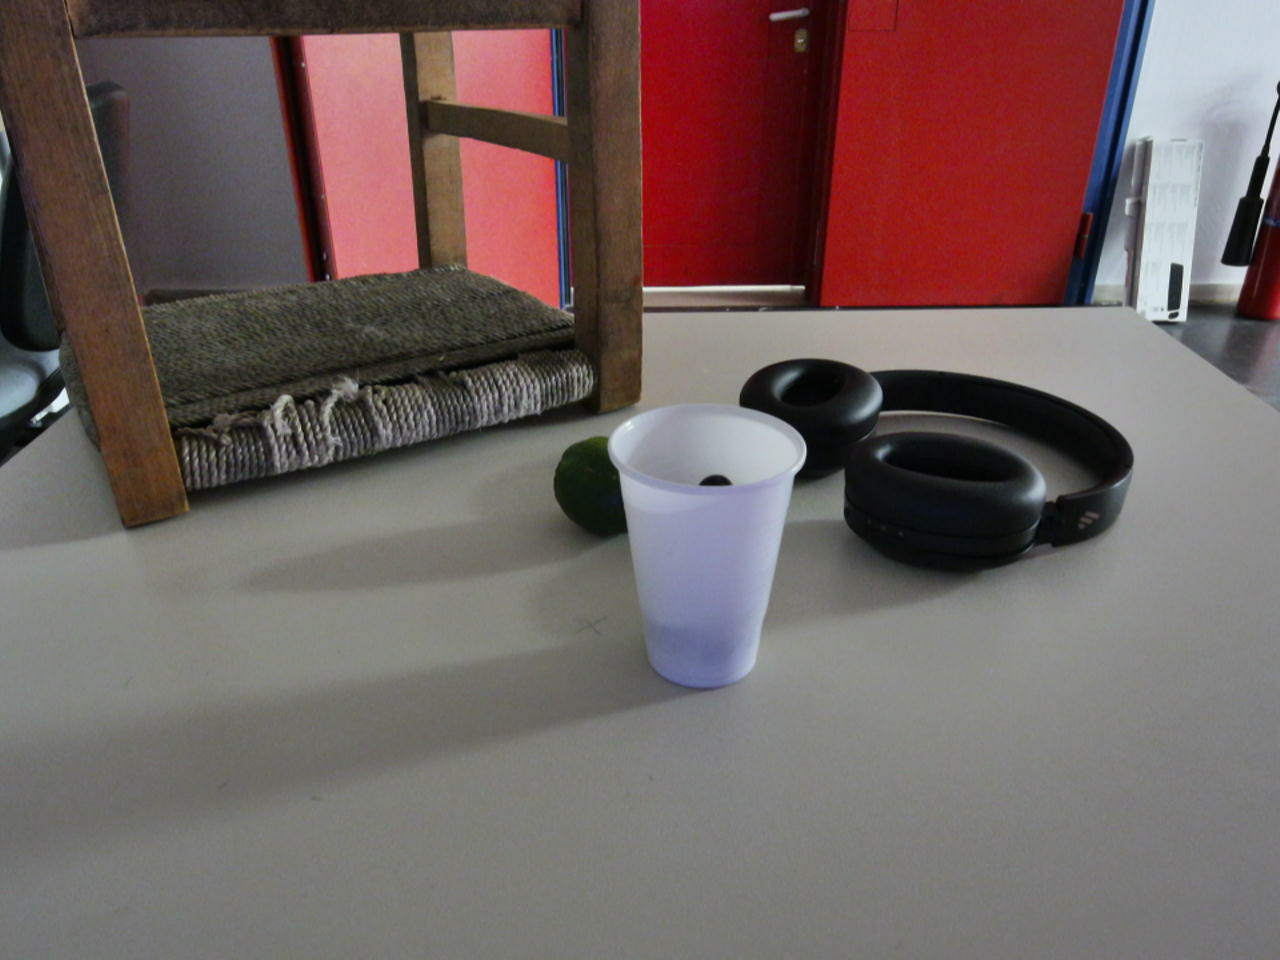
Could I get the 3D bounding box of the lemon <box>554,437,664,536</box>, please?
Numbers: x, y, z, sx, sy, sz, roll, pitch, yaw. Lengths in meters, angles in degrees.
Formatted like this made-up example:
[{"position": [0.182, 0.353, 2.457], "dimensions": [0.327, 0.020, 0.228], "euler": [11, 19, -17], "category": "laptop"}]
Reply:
[{"position": [-0.017, 0.003, 0.530], "dimensions": [0.057, 0.051, 0.054], "euler": [-3, 26, -4], "category": "lemon"}]
